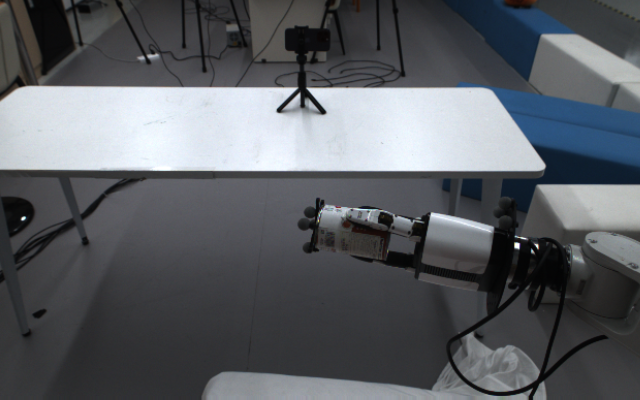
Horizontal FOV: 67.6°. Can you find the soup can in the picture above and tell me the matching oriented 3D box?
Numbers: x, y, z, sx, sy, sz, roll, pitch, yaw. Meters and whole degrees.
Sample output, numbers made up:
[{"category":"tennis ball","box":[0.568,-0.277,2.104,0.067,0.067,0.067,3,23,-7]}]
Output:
[{"category":"soup can","box":[0.051,0.045,0.687,0.101,0.067,0.067,8,35,9]}]
